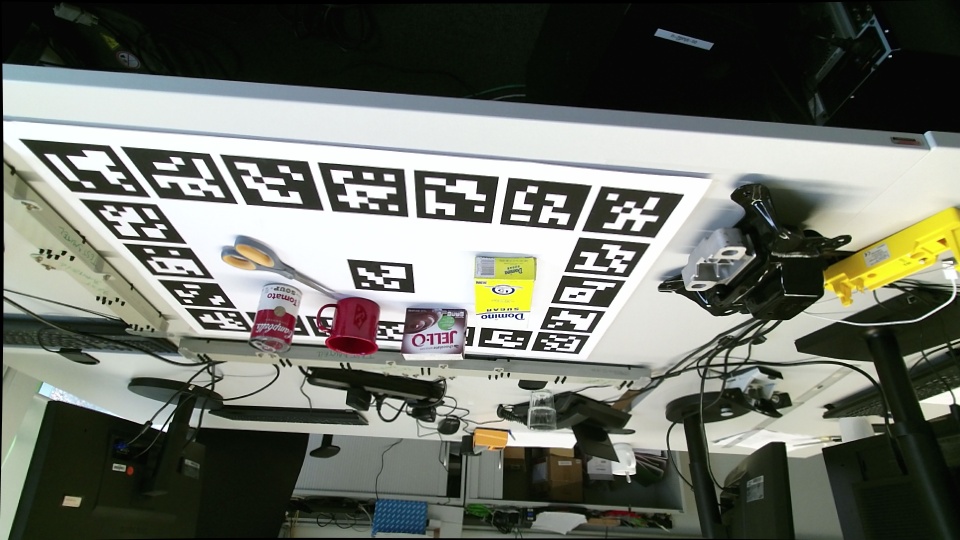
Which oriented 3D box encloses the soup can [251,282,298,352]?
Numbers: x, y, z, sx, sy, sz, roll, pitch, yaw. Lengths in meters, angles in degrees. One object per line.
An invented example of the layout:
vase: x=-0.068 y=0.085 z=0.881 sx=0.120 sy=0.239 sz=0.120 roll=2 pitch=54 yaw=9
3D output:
soup can: x=-0.356 y=0.080 z=0.917 sx=0.068 sy=0.101 sz=0.068 roll=1 pitch=148 yaw=1

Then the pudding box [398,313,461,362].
pudding box: x=-0.094 y=0.125 z=0.962 sx=0.114 sy=0.089 sz=0.039 roll=-1 pitch=140 yaw=5

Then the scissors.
scissors: x=-0.323 y=0.001 z=0.857 sx=0.088 sy=0.016 sz=0.203 roll=-29 pitch=135 yaw=25

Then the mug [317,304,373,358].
mug: x=-0.243 y=0.108 z=0.958 sx=0.093 sy=0.081 sz=0.117 roll=-19 pitch=143 yaw=25

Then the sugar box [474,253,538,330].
sugar box: x=0.038 y=0.040 z=0.878 sx=0.093 sy=0.045 sz=0.177 roll=1 pitch=145 yaw=-2
